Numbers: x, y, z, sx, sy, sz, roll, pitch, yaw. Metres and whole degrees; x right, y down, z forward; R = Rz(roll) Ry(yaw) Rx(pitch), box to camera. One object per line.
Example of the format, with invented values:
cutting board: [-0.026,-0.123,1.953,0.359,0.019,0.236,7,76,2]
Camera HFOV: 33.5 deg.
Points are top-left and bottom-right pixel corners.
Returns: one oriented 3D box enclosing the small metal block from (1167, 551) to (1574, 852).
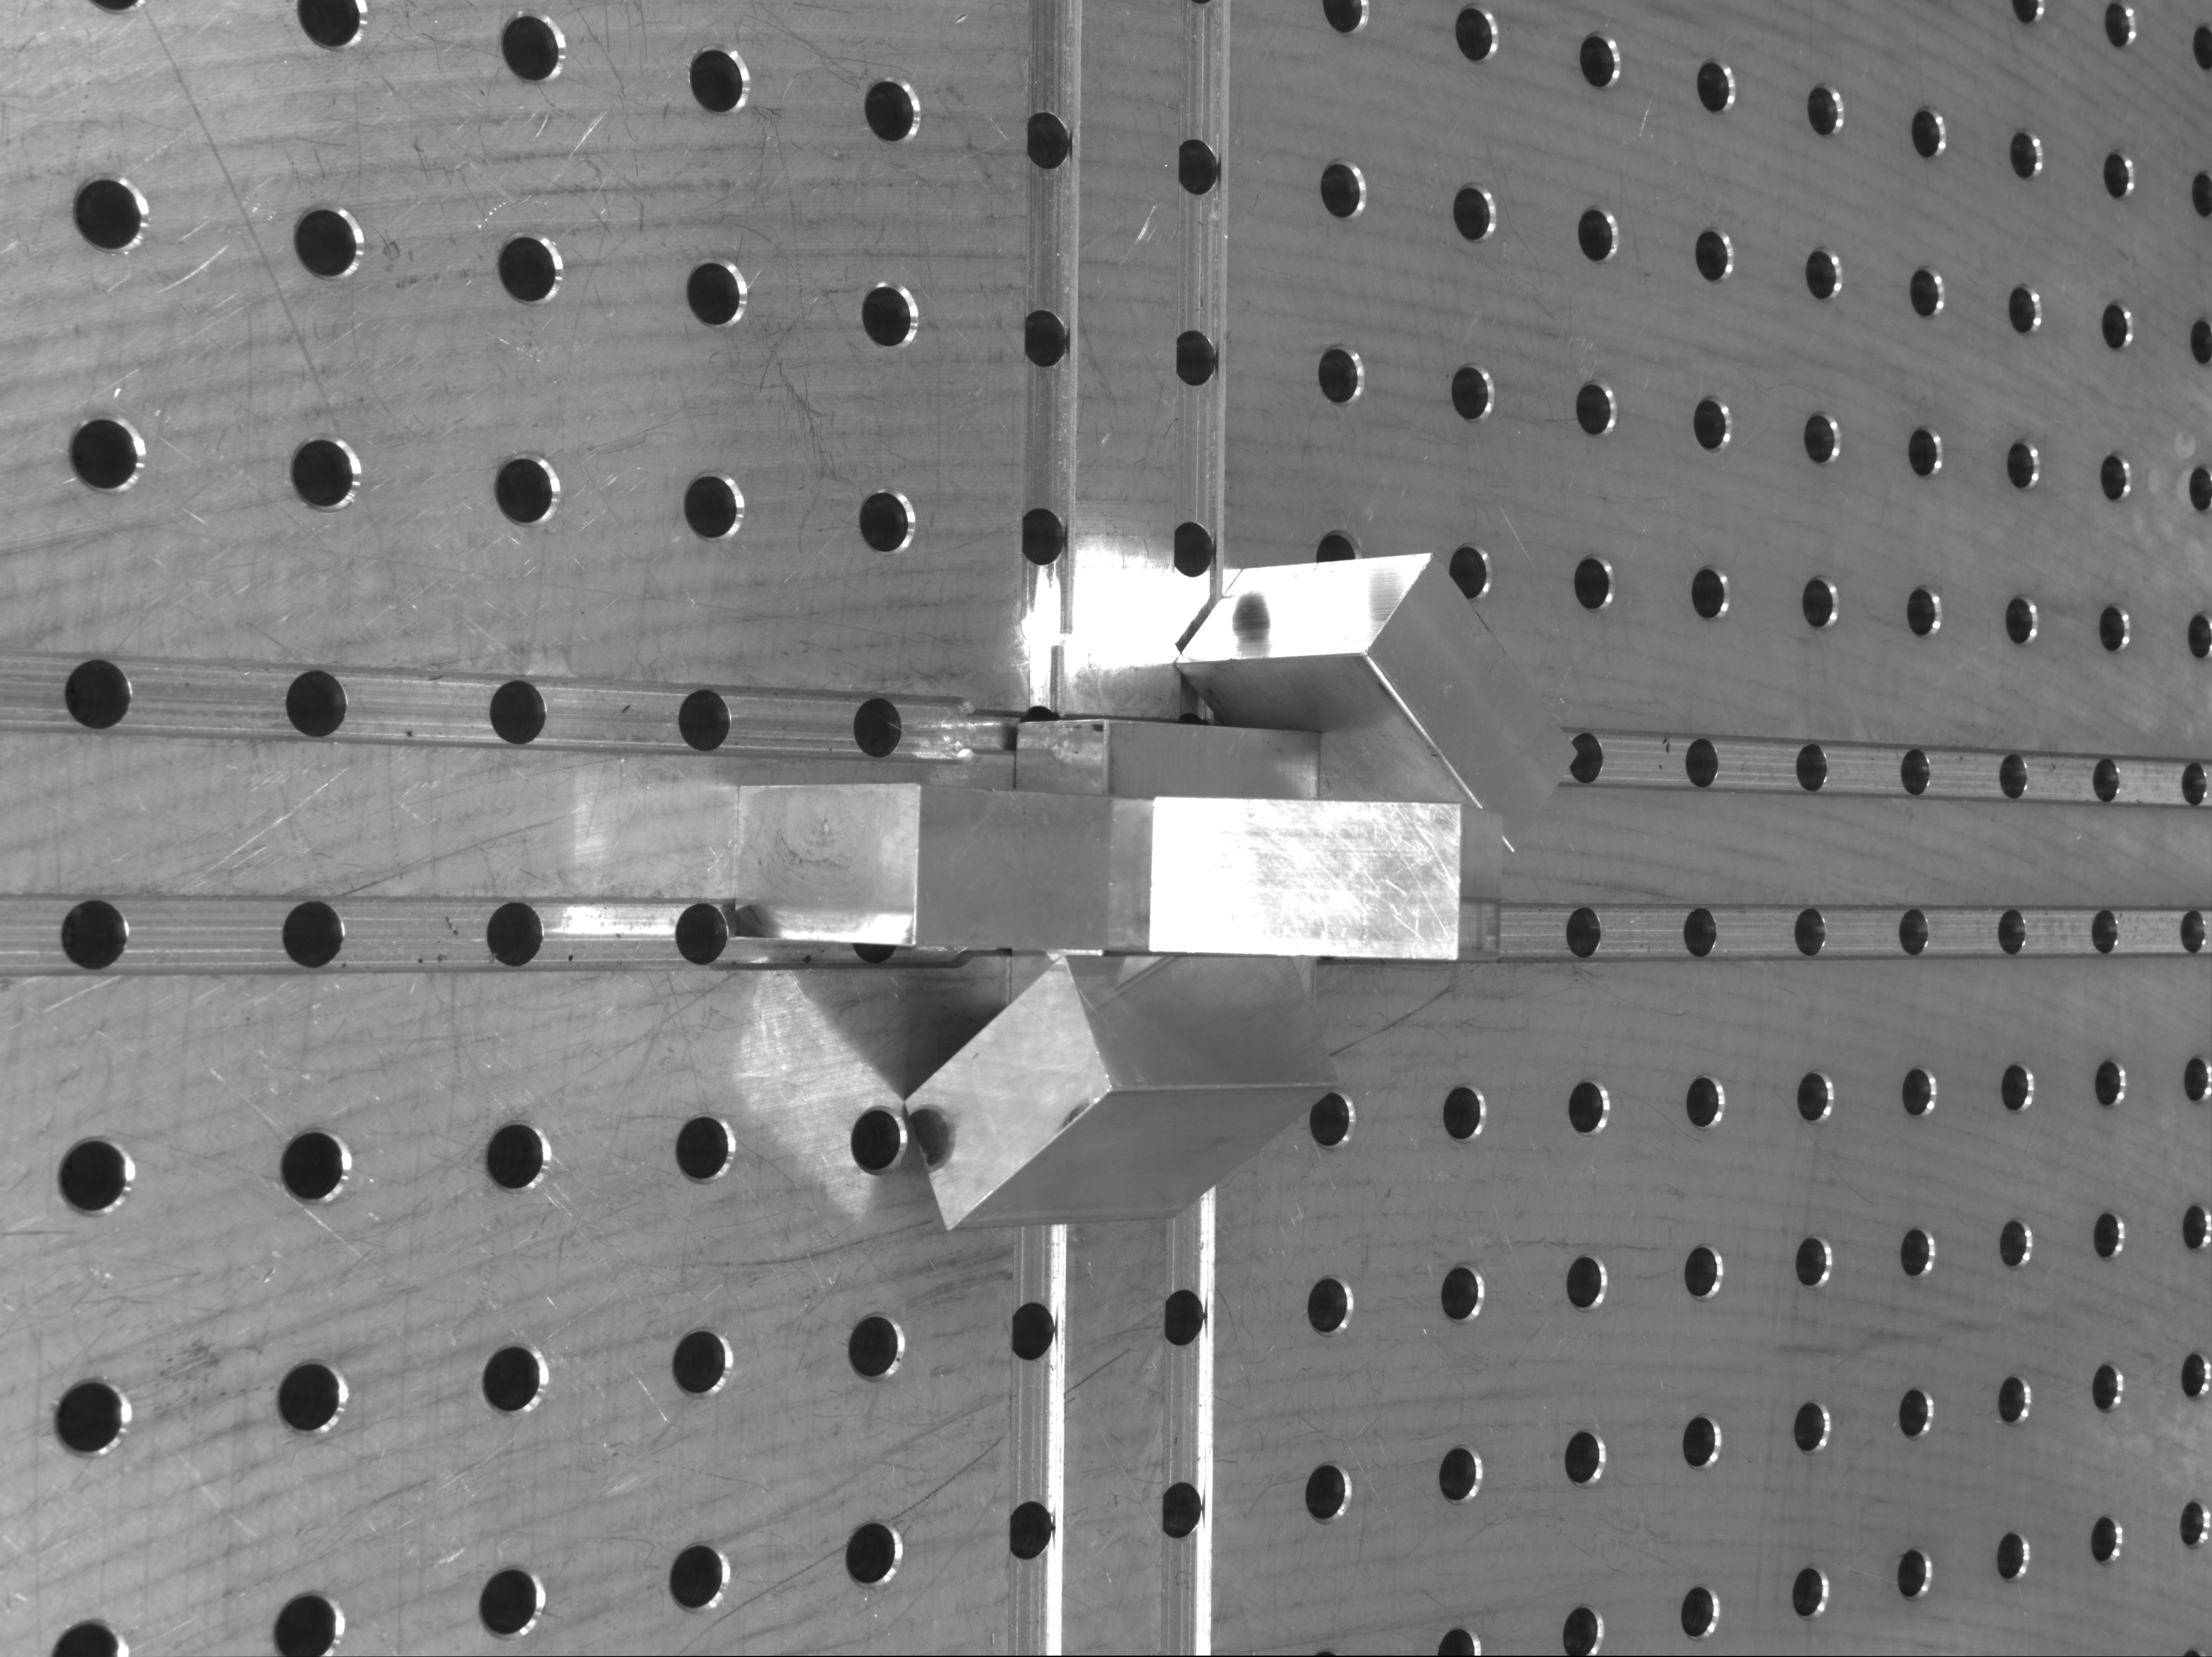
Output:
small metal block: [0.048,-0.022,0.663,0.050,0.050,0.025,51,60,-28]

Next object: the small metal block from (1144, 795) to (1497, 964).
small metal block: [0.037,0.009,0.608,0.050,0.050,0.025,9,83,-77]

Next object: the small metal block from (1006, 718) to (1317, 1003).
small metal block: [0.010,0.007,0.647,0.050,0.025,0.050,2,88,-40]

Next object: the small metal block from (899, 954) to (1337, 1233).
small metal block: [0.002,0.045,0.621,0.050,0.050,0.025,2,57,-39]

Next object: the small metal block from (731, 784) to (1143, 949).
small metal block: [-0.026,0.006,0.601,0.050,0.050,0.025,2,89,-39]
